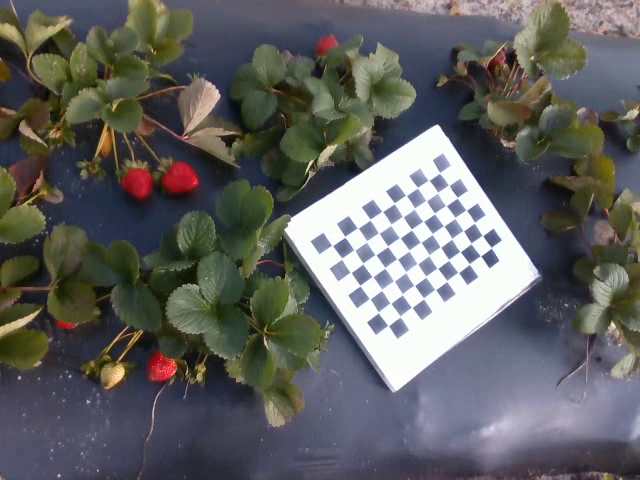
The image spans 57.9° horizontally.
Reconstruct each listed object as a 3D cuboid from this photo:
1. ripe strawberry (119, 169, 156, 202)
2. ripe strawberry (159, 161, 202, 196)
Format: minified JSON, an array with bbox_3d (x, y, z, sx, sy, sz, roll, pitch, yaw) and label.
[{"bbox_3d":[-0.272,-0.084,0.865,0.048,0.056,0.041,-18,-30,-18],"label":"ripe strawberry"},{"bbox_3d":[-0.212,-0.096,0.878,0.064,0.058,0.051,25,-22,26],"label":"ripe strawberry"}]
